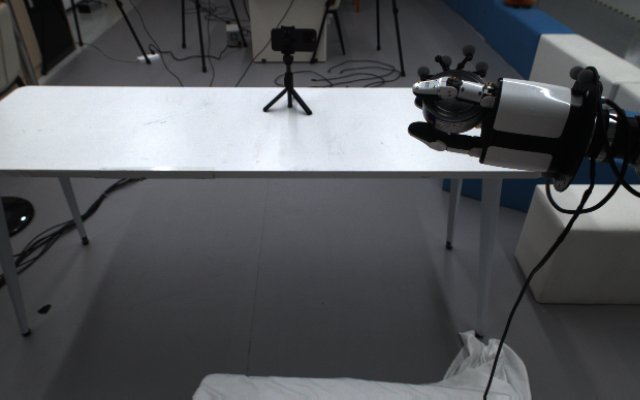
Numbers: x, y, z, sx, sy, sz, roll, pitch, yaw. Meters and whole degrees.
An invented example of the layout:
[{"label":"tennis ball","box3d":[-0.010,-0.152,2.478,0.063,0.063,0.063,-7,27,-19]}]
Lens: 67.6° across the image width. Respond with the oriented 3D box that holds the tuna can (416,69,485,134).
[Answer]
[{"label":"tuna can","box3d":[0.181,-0.136,0.659,0.085,0.034,0.085,-6,59,10]}]
